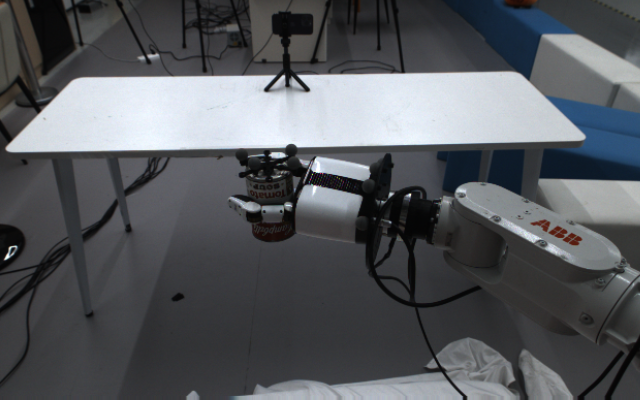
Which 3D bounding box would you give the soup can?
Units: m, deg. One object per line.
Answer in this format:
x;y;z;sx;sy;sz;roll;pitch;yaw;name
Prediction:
-0.068;0.000;0.687;0.067;0.101;0.067;-2;32;1;soup can
